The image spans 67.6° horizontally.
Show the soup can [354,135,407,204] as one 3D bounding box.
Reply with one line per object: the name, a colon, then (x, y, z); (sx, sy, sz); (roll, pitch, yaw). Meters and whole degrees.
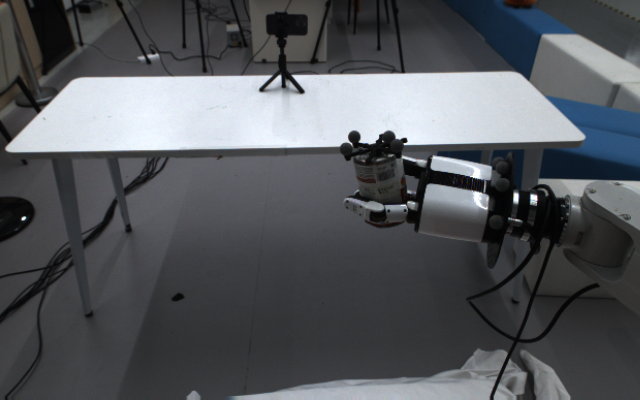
soup can: (0.088, -0.021, 0.674); (0.067, 0.101, 0.067); (-11, 27, 6)
